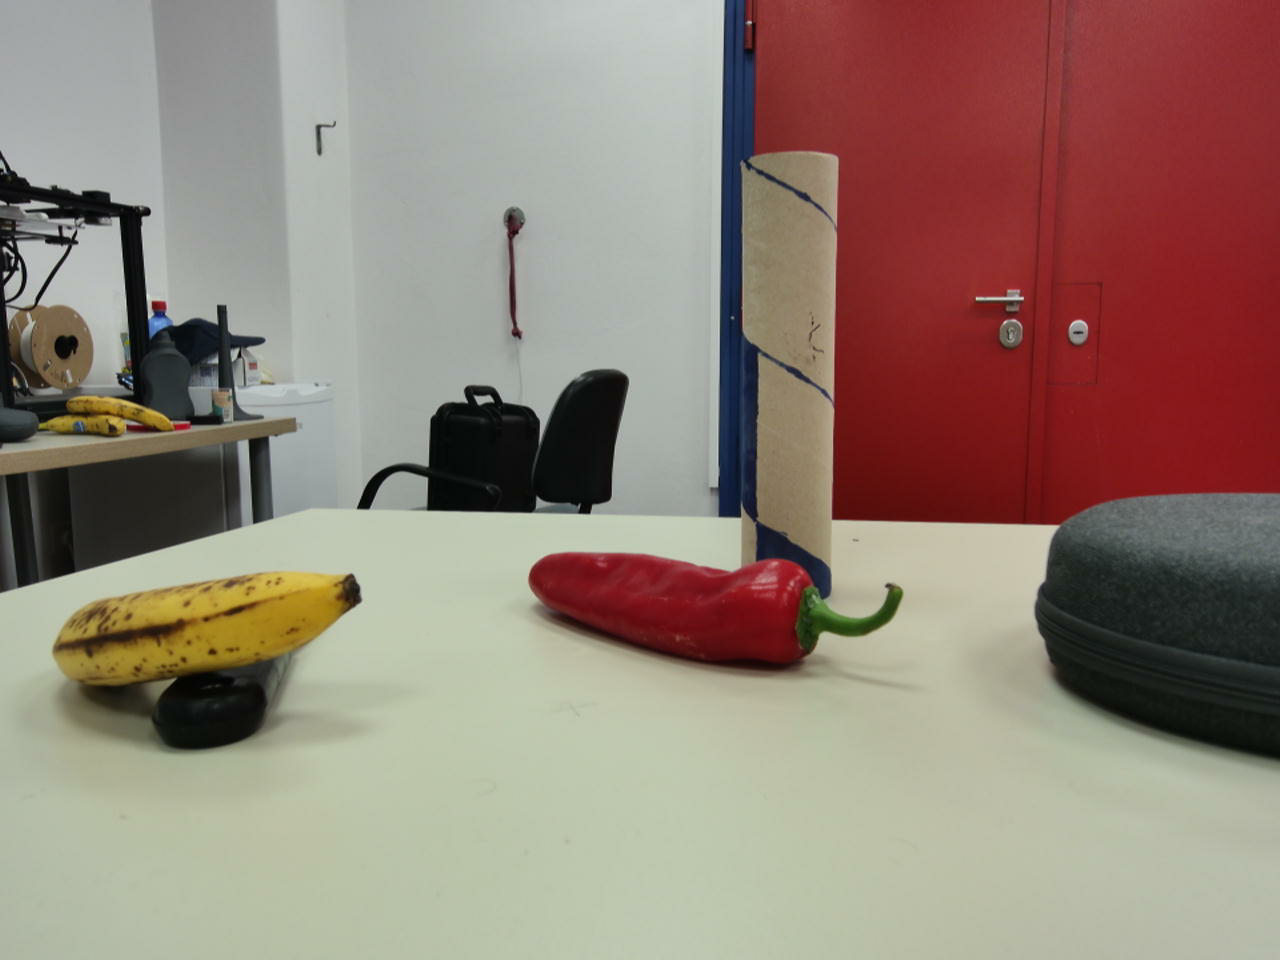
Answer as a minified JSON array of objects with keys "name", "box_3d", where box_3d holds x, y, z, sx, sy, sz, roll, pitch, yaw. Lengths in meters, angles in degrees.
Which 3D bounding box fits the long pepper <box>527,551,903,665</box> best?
[{"name":"long pepper","box_3d":[0.015,0.052,0.443,0.211,0.043,0.050,4,5,44]}]
